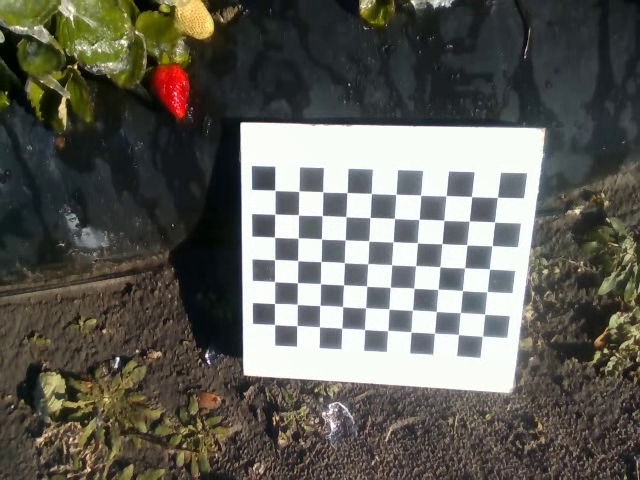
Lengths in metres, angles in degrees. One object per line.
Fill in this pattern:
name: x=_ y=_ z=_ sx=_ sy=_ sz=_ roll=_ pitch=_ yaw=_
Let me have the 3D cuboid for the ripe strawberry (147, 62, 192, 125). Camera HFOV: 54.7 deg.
ripe strawberry: x=-0.144 y=-0.141 z=0.589 sx=0.041 sy=0.052 sz=0.040 roll=-15 pitch=5 yaw=8
